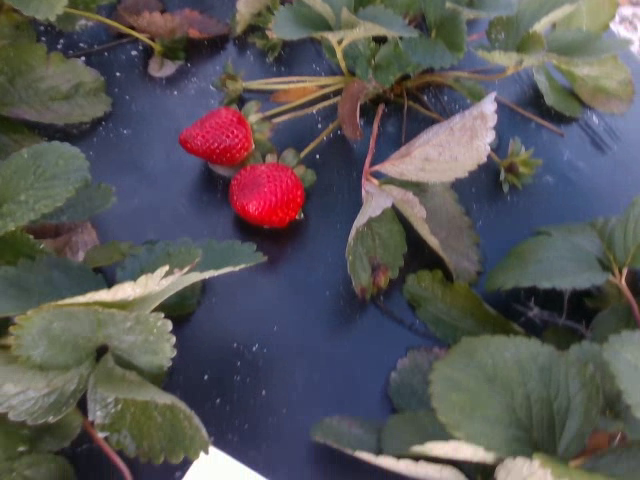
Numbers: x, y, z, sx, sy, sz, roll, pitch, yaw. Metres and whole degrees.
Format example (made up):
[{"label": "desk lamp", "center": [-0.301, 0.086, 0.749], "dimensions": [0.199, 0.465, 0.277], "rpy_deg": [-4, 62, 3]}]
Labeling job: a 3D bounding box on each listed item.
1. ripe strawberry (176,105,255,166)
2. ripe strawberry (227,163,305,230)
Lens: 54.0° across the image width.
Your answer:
[{"label": "ripe strawberry", "center": [-0.073, -0.071, 0.426], "dimensions": [0.055, 0.041, 0.048], "rpy_deg": [-26, 56, -39]}, {"label": "ripe strawberry", "center": [-0.038, -0.032, 0.391], "dimensions": [0.057, 0.051, 0.064], "rpy_deg": [10, 27, 9]}]
